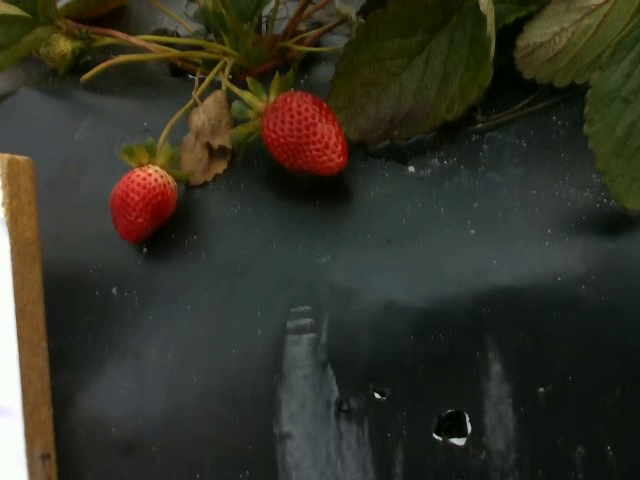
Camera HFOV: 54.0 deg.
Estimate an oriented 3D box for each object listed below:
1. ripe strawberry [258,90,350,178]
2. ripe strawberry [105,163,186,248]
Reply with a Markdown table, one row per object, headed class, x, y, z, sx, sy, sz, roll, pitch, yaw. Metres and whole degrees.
| class | x | y | z | sx | sy | sz | roll | pitch | yaw |
| --- | --- | --- | --- | --- | --- | --- | --- | --- | --- |
| ripe strawberry | -0.007 | -0.048 | 0.282 | 0.059 | 0.044 | 0.041 | 46 | 18 | 28 |
| ripe strawberry | -0.081 | -0.018 | 0.280 | 0.036 | 0.041 | 0.027 | -4 | -18 | 18 |
